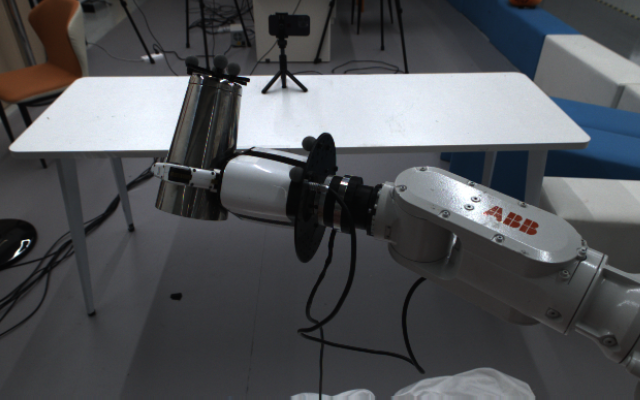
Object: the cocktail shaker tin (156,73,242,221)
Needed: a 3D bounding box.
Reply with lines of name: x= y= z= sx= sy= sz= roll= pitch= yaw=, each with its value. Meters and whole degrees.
cocktail shaker tin: x=-0.148 y=-0.067 z=0.616 sx=0.093 sy=0.170 sz=0.093 roll=12 pitch=5 yaw=-1
